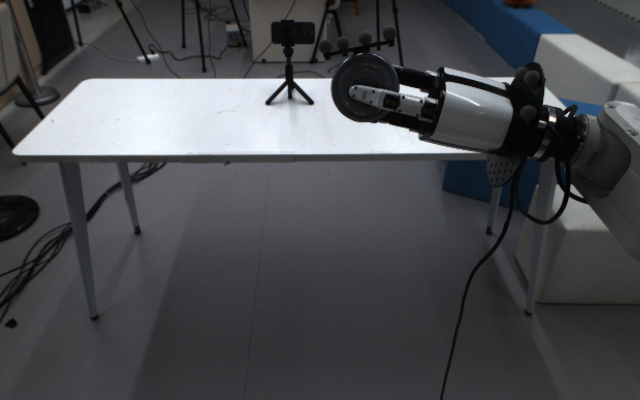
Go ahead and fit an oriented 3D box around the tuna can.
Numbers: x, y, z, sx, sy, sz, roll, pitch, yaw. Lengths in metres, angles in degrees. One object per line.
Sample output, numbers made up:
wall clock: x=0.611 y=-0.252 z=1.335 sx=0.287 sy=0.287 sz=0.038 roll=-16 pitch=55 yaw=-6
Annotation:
tuna can: x=0.061 y=-0.136 z=0.608 sx=0.085 sy=0.085 sz=0.034 roll=6 pitch=18 yaw=5
